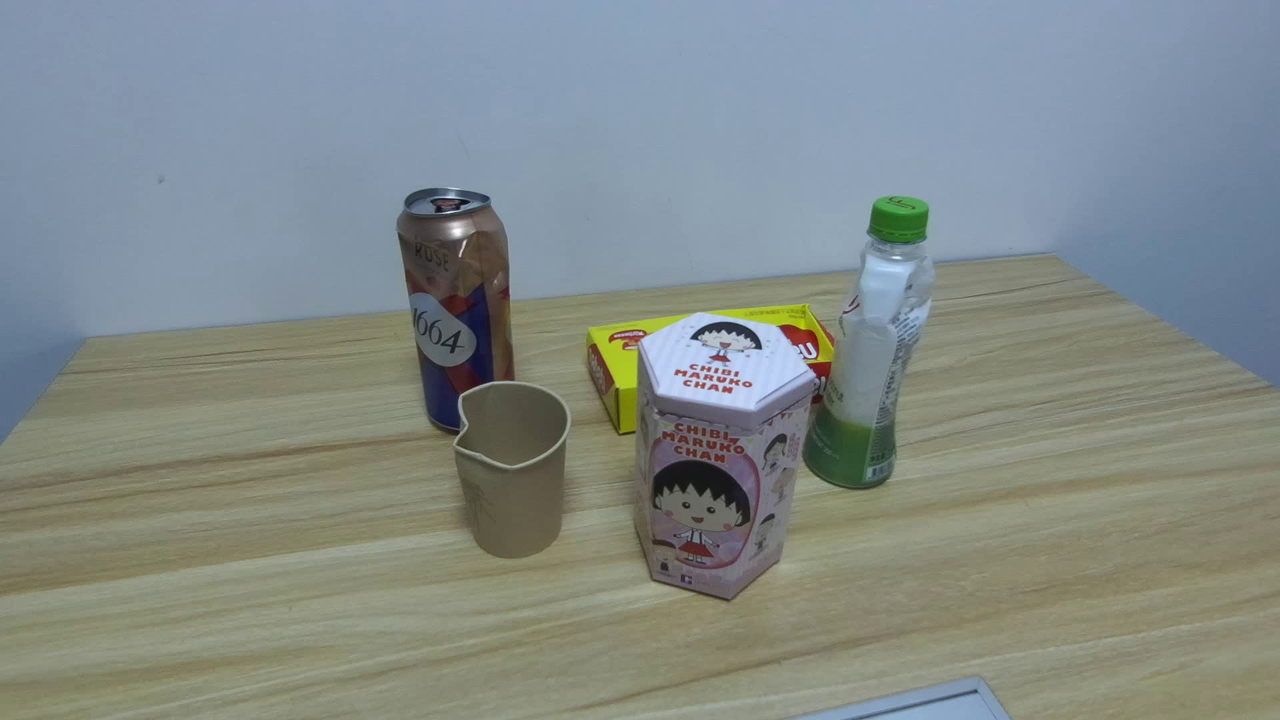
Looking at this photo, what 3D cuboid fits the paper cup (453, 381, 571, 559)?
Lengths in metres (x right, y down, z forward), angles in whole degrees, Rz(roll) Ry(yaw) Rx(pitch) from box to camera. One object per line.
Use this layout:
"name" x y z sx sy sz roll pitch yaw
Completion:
"paper cup" -0.074 0.066 0.413 0.073 0.081 0.069 15 35 18

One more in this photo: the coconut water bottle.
"coconut water bottle" 0.145 -0.008 0.440 0.067 0.187 0.067 0 32 0

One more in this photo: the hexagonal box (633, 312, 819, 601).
"hexagonal box" 0.041 0.055 0.387 0.091 0.136 0.084 10 34 13

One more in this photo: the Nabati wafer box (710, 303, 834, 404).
"Nabati wafer box" 0.067 0.001 0.578 0.204 0.042 0.096 -8 32 -12

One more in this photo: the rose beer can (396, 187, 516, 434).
"rose beer can" -0.122 -0.031 0.488 0.065 0.167 0.075 -19 35 -32
